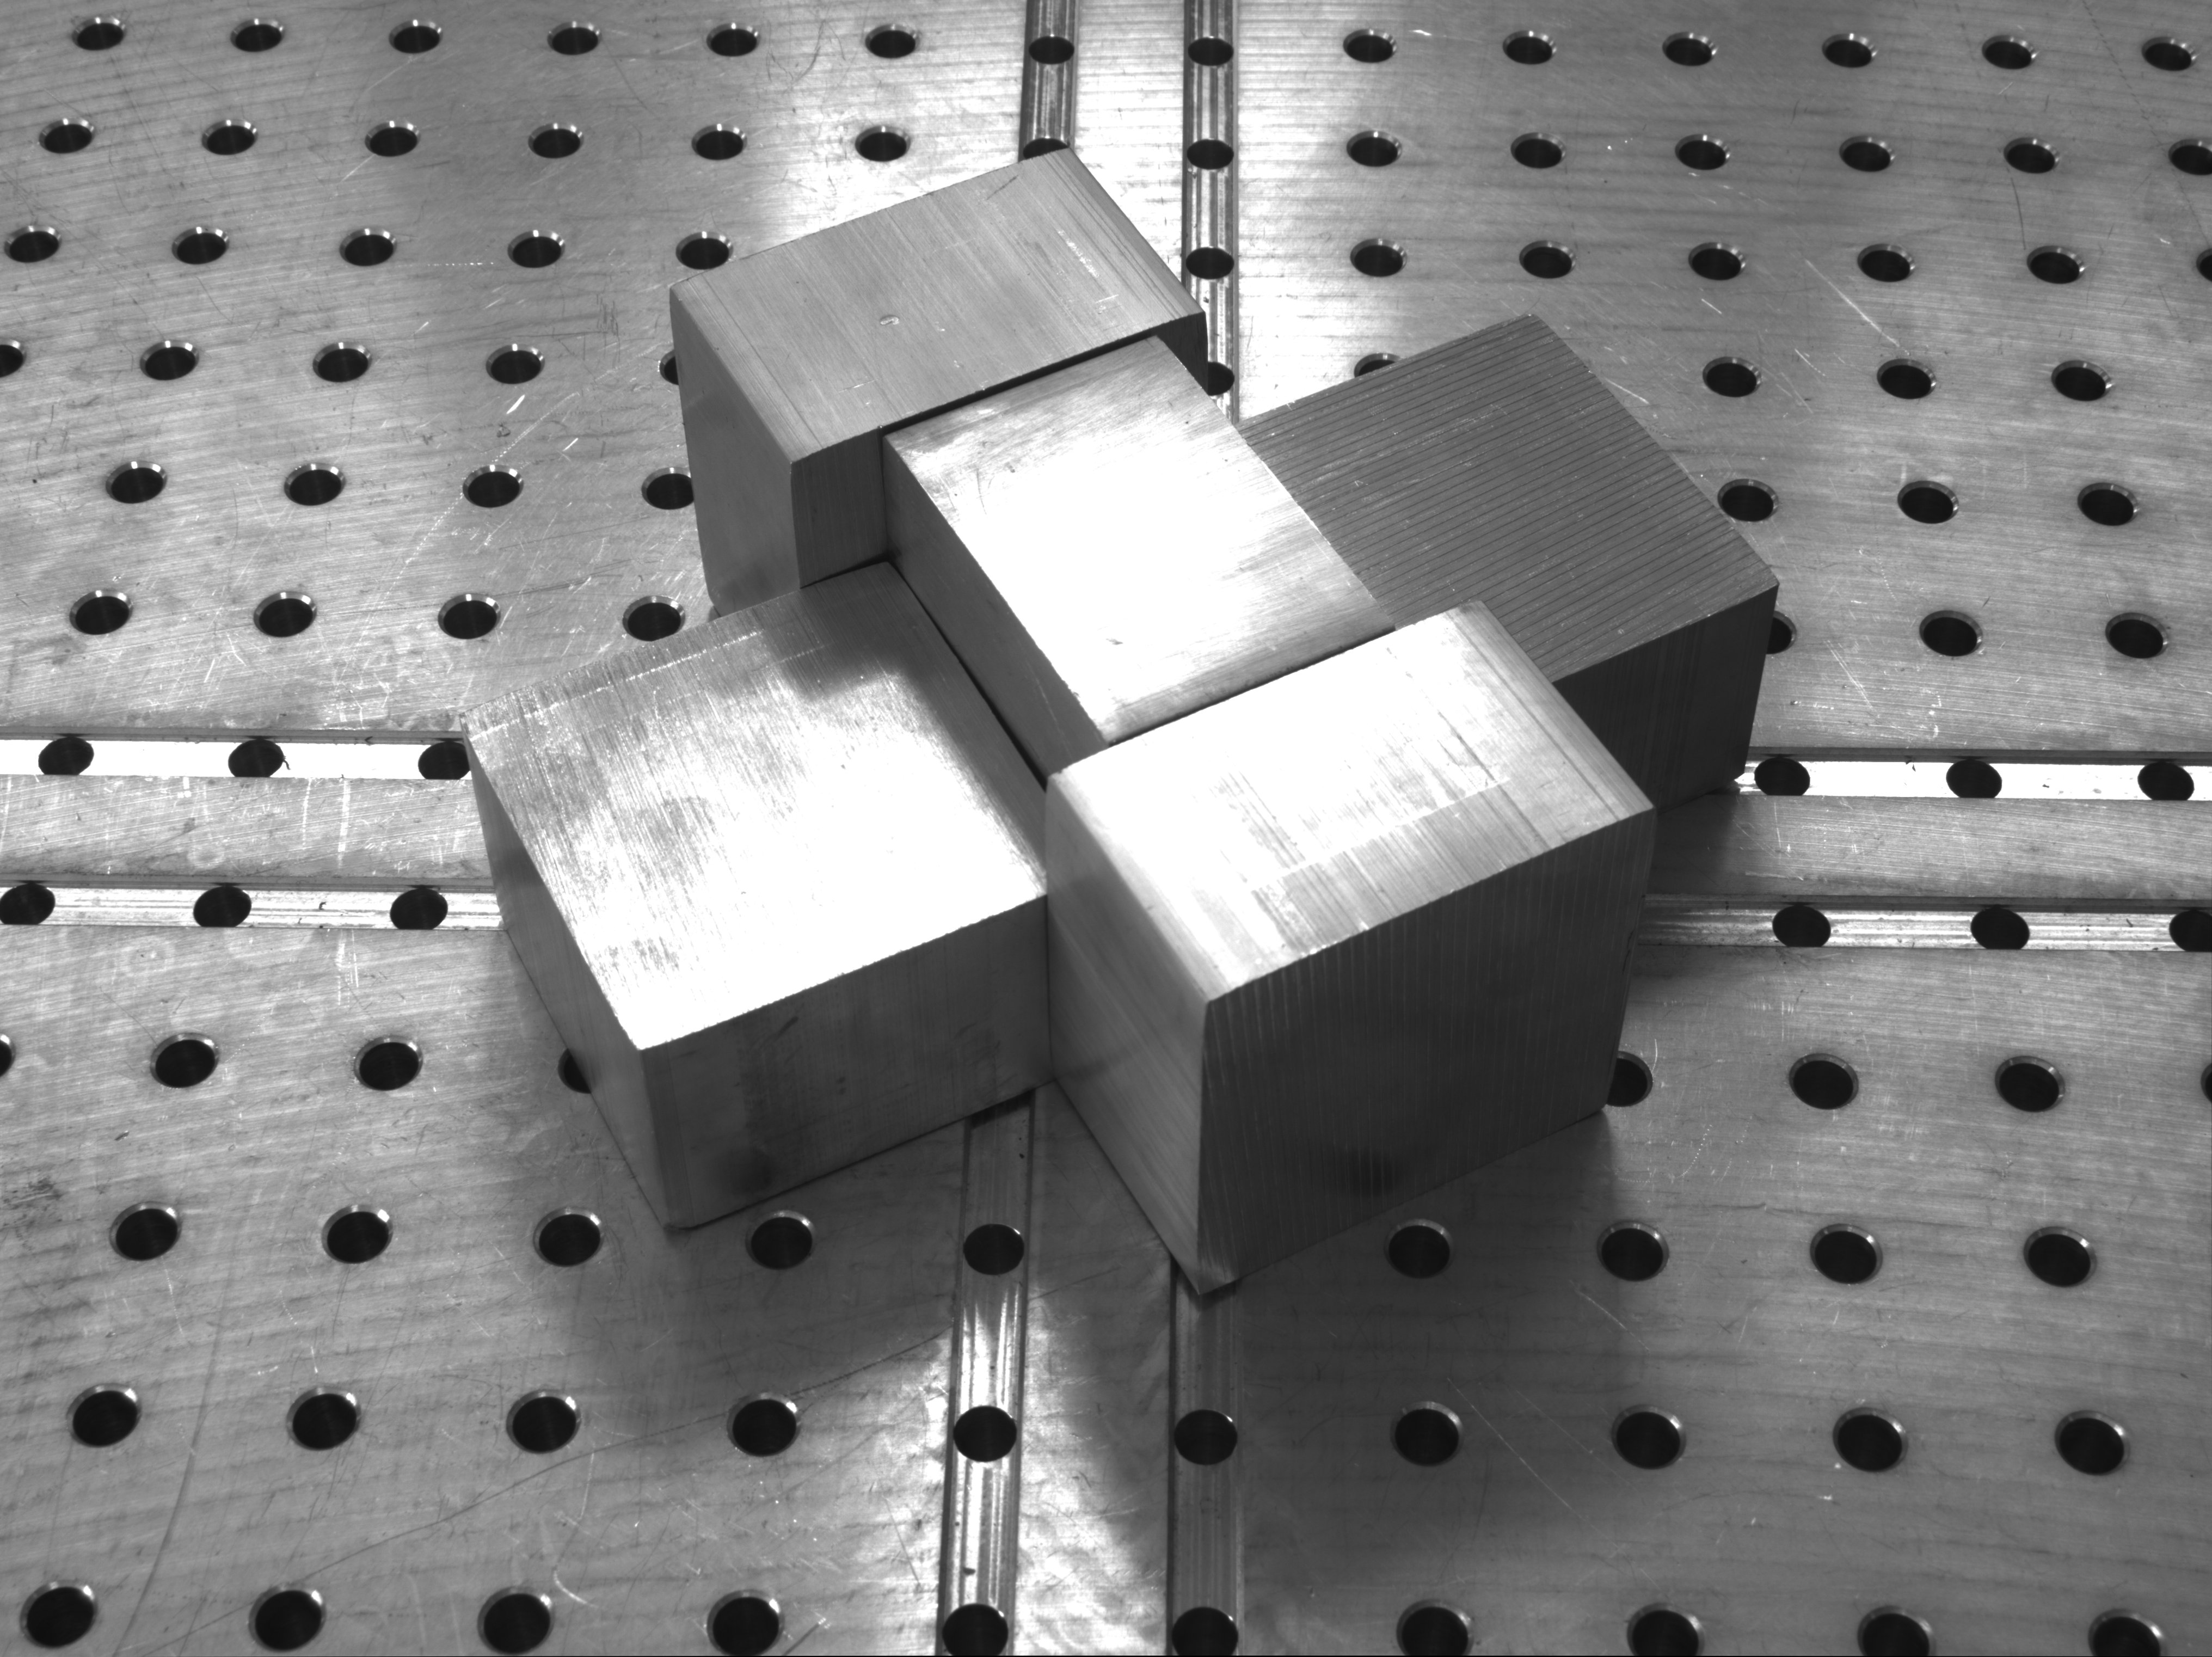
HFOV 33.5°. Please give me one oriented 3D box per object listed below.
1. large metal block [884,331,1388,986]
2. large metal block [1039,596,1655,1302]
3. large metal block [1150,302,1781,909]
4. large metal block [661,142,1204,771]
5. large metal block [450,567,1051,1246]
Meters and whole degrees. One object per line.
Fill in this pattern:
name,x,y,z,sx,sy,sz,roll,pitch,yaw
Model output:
large metal block,0.004,-0.023,0.629,0.050,0.080,0.080,-23,53,-18
large metal block,0.037,0.020,0.593,0.080,0.080,0.050,-22,53,-18
large metal block,0.062,-0.039,0.661,0.080,0.050,0.080,-23,55,-18
large metal block,-0.030,-0.066,0.665,0.080,0.080,0.050,-22,53,-18
large metal block,-0.056,0.012,0.621,0.080,0.050,0.080,-21,52,-17
